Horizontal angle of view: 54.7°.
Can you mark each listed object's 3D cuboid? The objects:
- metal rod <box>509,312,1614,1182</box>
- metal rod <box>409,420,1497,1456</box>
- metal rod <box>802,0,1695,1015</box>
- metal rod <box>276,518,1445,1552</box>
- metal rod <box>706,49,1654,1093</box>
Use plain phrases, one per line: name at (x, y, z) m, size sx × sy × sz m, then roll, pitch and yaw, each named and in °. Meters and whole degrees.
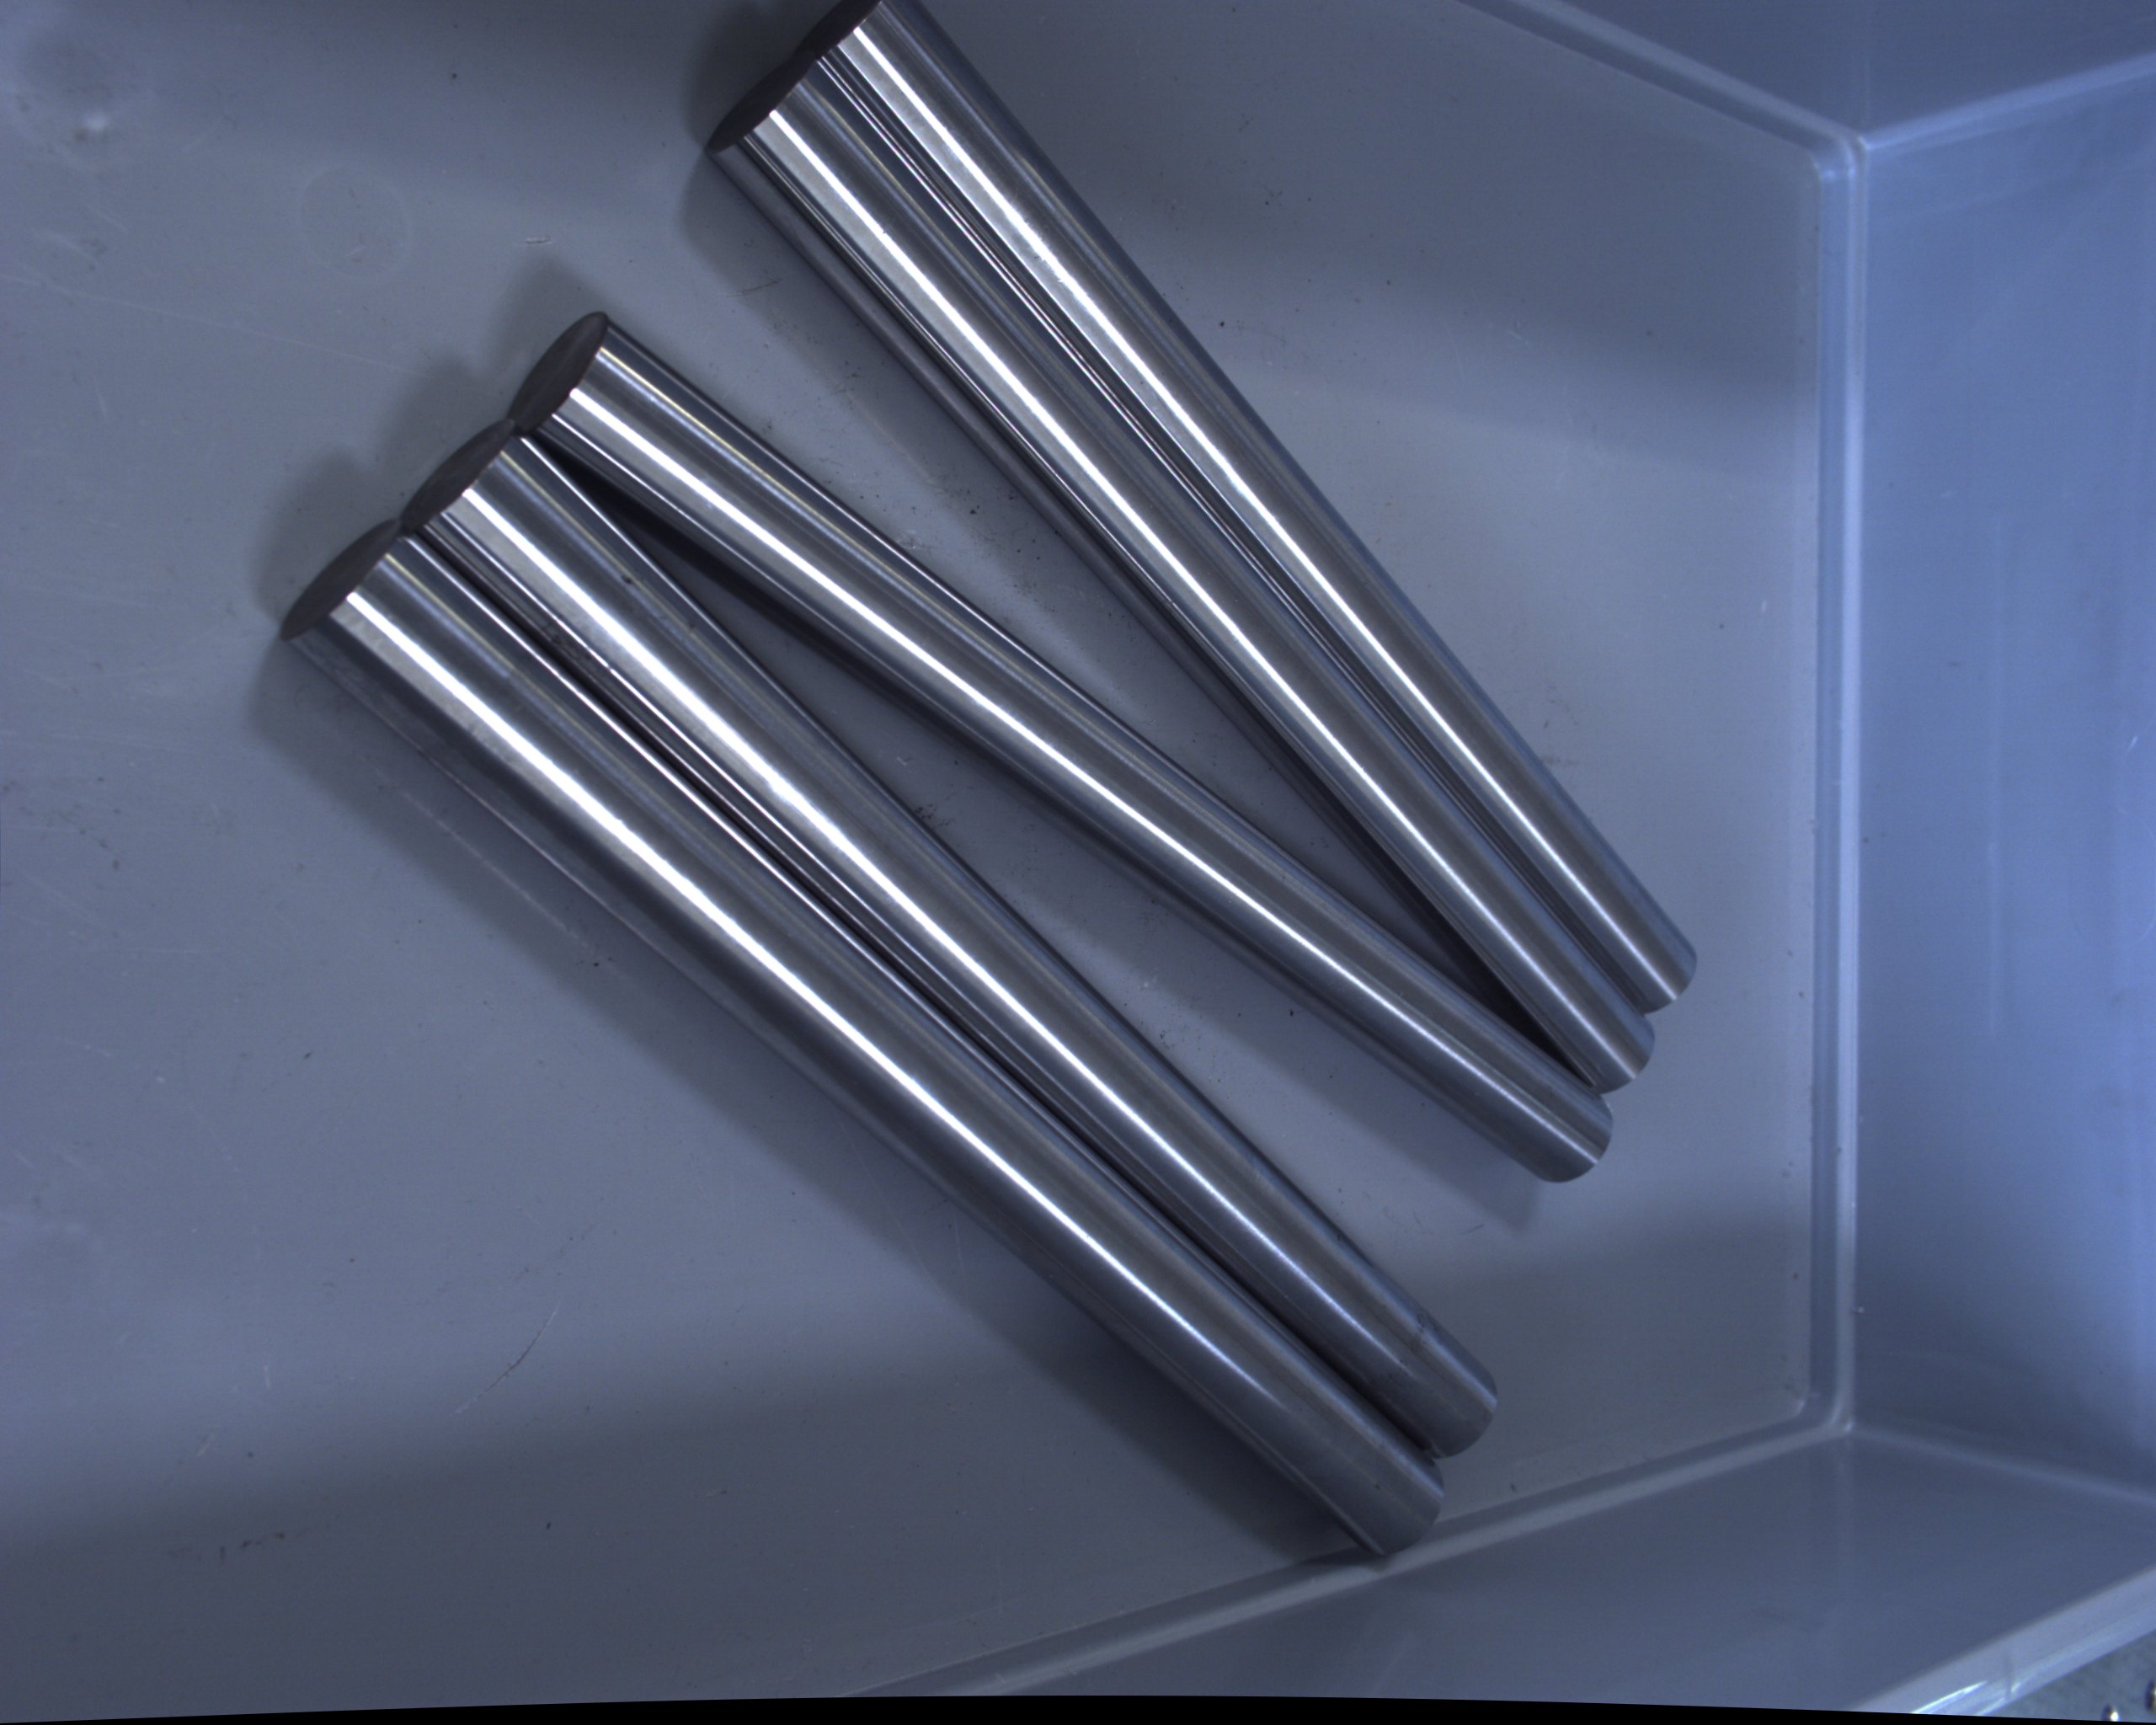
metal rod at (0.017, -0.006, 0.419) m, size 0.301 × 0.025 × 0.025 m, roll 35°, pitch 68°, yaw -34°
metal rod at (-0.006, 0.032, 0.400) m, size 0.300 × 0.025 × 0.025 m, roll 45°, pitch 63°, yaw -31°
metal rod at (0.051, -0.061, 0.447) m, size 0.300 × 0.025 × 0.025 m, roll 44°, pitch 64°, yaw -31°
metal rod at (-0.020, 0.050, 0.388) m, size 0.300 × 0.025 × 0.025 m, roll 45°, pitch 63°, yaw -31°
metal rod at (0.038, -0.042, 0.436) m, size 0.300 × 0.025 × 0.025 m, roll 44°, pitch 64°, yaw -31°
